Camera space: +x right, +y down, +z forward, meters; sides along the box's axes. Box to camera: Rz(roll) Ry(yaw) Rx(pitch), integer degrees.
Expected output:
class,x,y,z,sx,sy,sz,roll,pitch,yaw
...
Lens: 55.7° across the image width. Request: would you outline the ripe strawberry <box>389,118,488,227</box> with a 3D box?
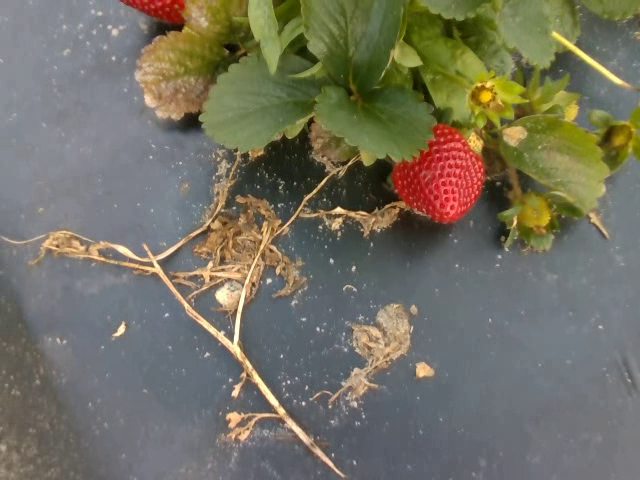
class,x,y,z,sx,sy,sz,roll,pitch,yaw
ripe strawberry,0.052,-0.026,0.261,0.043,0.046,0.047,-14,-40,13
